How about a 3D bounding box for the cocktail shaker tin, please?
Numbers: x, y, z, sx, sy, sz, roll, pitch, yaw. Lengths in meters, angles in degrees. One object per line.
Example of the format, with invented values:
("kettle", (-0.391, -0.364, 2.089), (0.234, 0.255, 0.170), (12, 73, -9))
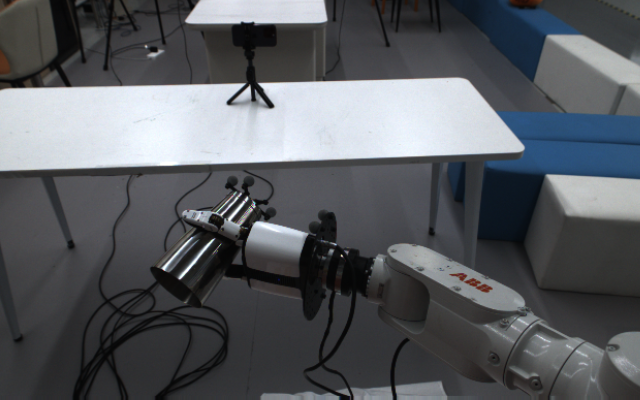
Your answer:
("cocktail shaker tin", (-0.161, 0.063, 0.729), (0.093, 0.093, 0.170), (19, 55, 23))
